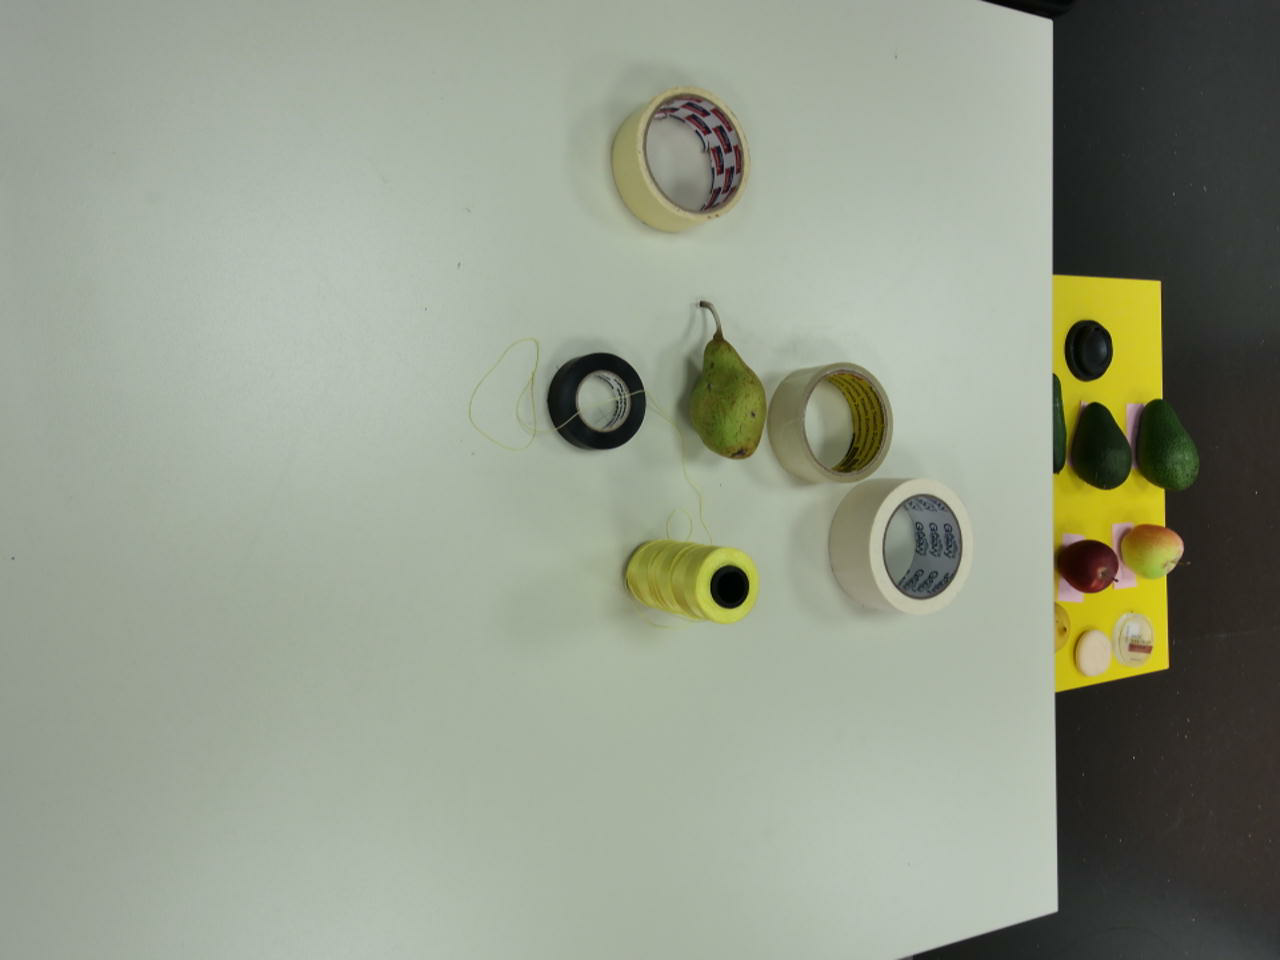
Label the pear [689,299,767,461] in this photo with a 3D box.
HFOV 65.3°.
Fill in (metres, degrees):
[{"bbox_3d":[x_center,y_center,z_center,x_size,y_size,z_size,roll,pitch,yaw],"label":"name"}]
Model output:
[{"bbox_3d":[0.067,-0.071,0.711,0.056,0.056,0.111,15,83,-27],"label":"pear"}]
